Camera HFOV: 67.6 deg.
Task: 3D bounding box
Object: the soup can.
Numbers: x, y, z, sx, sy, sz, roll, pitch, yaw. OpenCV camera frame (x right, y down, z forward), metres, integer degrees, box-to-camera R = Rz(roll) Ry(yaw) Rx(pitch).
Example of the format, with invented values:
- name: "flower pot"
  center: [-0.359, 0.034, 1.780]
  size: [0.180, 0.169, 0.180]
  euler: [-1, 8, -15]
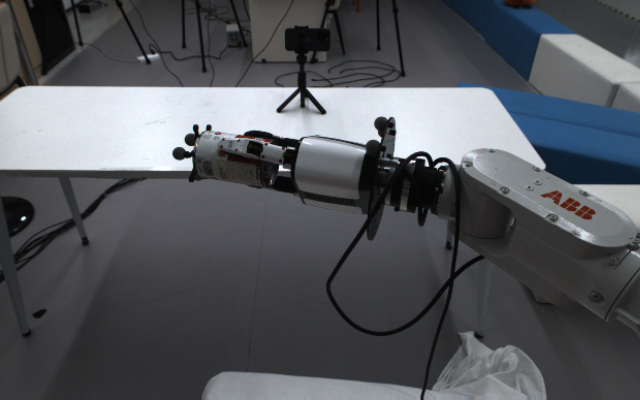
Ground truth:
- name: "soup can"
  center: [-0.112, -0.055, 0.664]
  size: [0.101, 0.067, 0.067]
  euler: [9, 35, 11]
